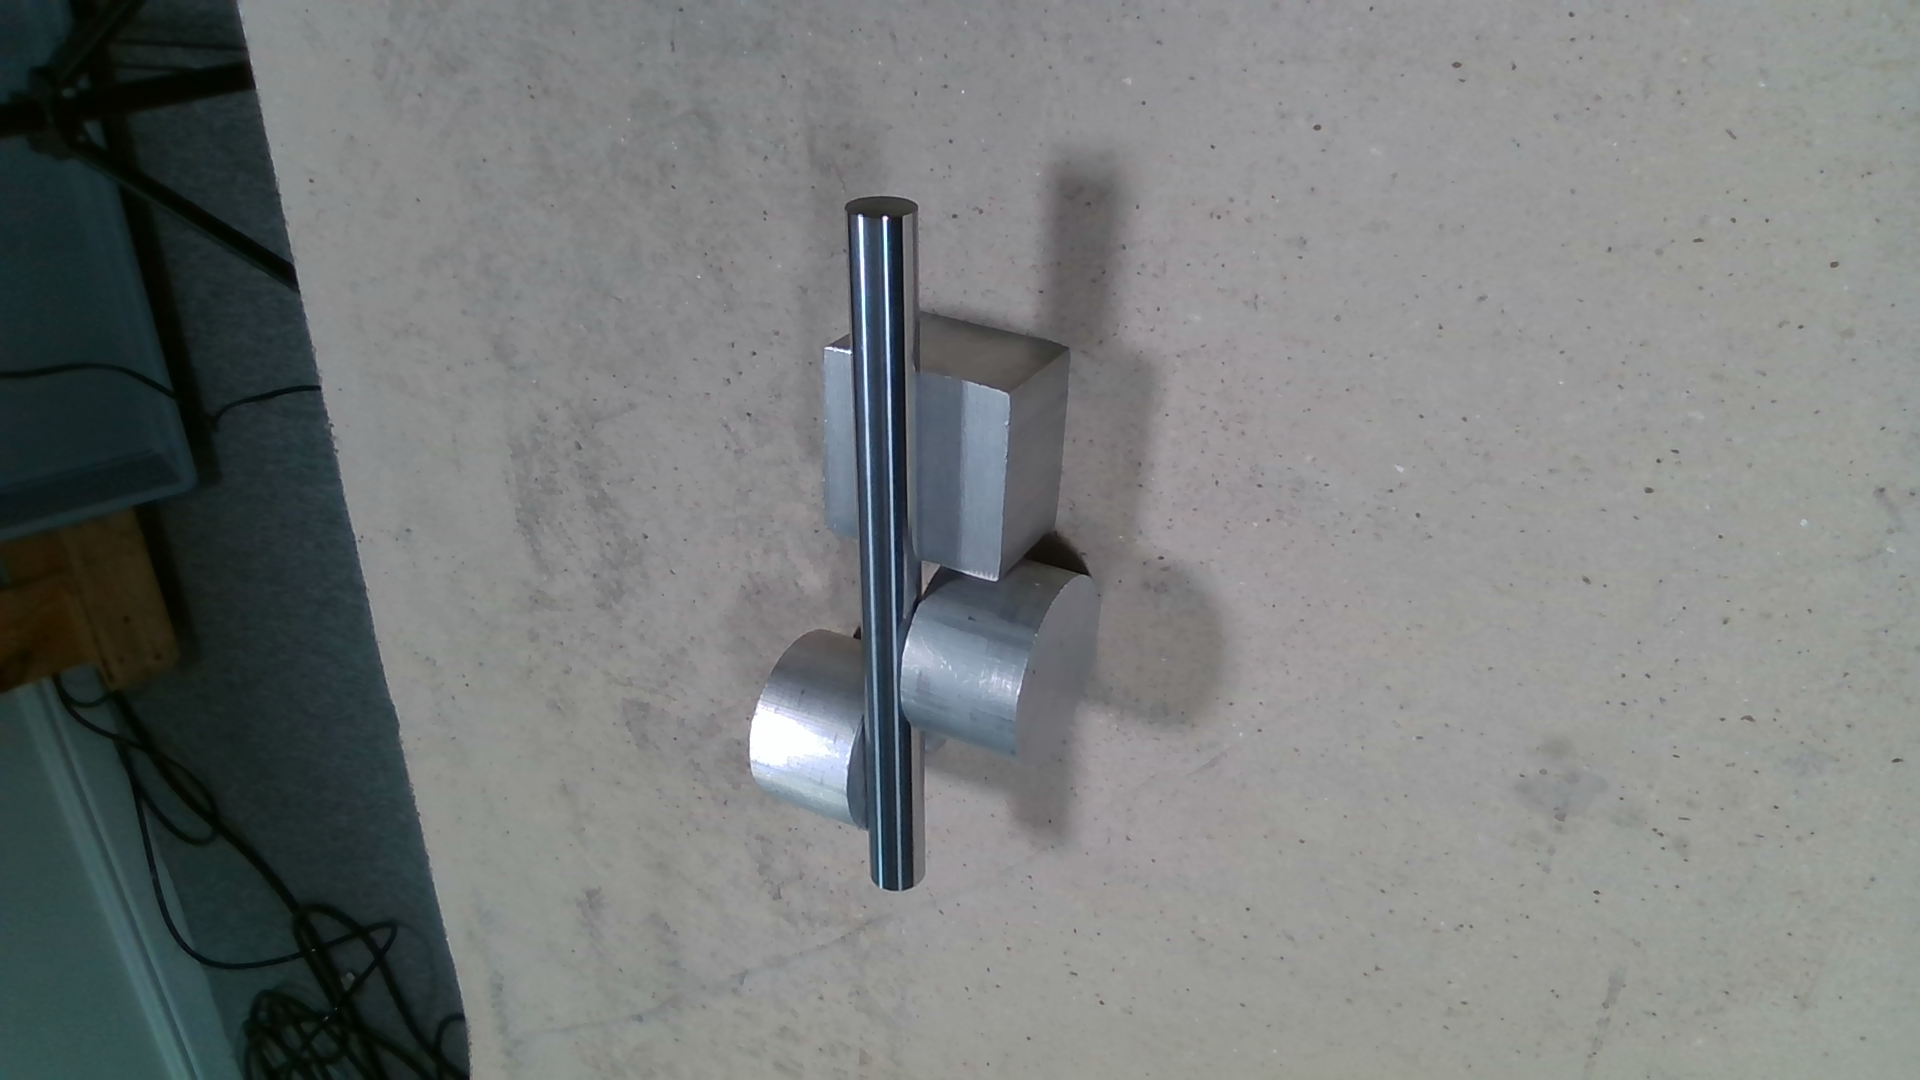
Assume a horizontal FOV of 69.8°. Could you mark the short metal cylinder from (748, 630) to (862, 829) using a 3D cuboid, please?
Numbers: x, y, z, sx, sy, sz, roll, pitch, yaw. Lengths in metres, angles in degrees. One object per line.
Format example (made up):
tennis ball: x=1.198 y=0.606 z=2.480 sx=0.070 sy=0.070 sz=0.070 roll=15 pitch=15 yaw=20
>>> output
short metal cylinder: x=-0.051 y=0.085 z=0.622 sx=0.050 sy=0.080 sz=0.080 roll=14 pitch=122 yaw=25

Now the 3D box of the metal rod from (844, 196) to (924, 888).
metal rod: x=-0.027 y=0.017 z=0.540 sx=0.025 sy=0.025 sz=0.301 roll=15 pitch=123 yaw=24

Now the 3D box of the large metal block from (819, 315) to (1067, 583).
large metal block: x=-0.008 y=-0.040 z=0.543 sx=0.080 sy=0.050 sz=0.080 roll=17 pitch=123 yaw=23

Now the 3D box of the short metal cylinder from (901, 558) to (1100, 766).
short metal cylinder: x=0.018 y=0.046 z=0.560 sx=0.050 sy=0.080 sz=0.080 roll=16 pitch=123 yaw=24

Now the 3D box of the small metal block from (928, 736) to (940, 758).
small metal block: x=-0.011 y=0.058 z=0.601 sx=0.025 sy=0.050 sz=0.050 roll=15 pitch=122 yaw=24
